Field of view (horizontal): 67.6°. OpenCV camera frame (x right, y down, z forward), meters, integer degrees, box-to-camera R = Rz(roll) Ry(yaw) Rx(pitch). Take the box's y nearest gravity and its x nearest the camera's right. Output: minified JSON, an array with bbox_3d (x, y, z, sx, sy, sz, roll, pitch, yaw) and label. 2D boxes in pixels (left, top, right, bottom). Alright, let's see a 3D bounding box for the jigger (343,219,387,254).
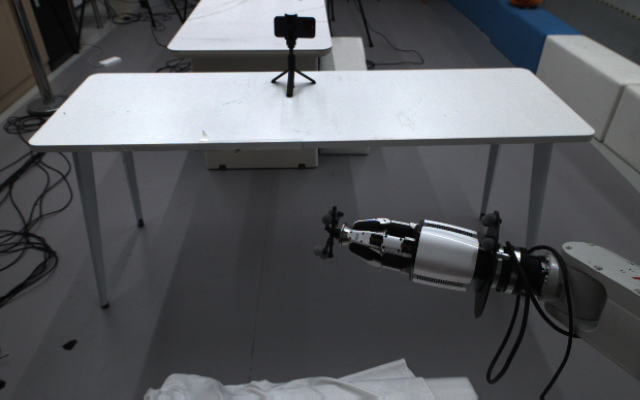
[{"bbox_3d":[0.074,0.057,0.754,0.071,0.043,0.043,10,35,16],"label":"jigger"}]
